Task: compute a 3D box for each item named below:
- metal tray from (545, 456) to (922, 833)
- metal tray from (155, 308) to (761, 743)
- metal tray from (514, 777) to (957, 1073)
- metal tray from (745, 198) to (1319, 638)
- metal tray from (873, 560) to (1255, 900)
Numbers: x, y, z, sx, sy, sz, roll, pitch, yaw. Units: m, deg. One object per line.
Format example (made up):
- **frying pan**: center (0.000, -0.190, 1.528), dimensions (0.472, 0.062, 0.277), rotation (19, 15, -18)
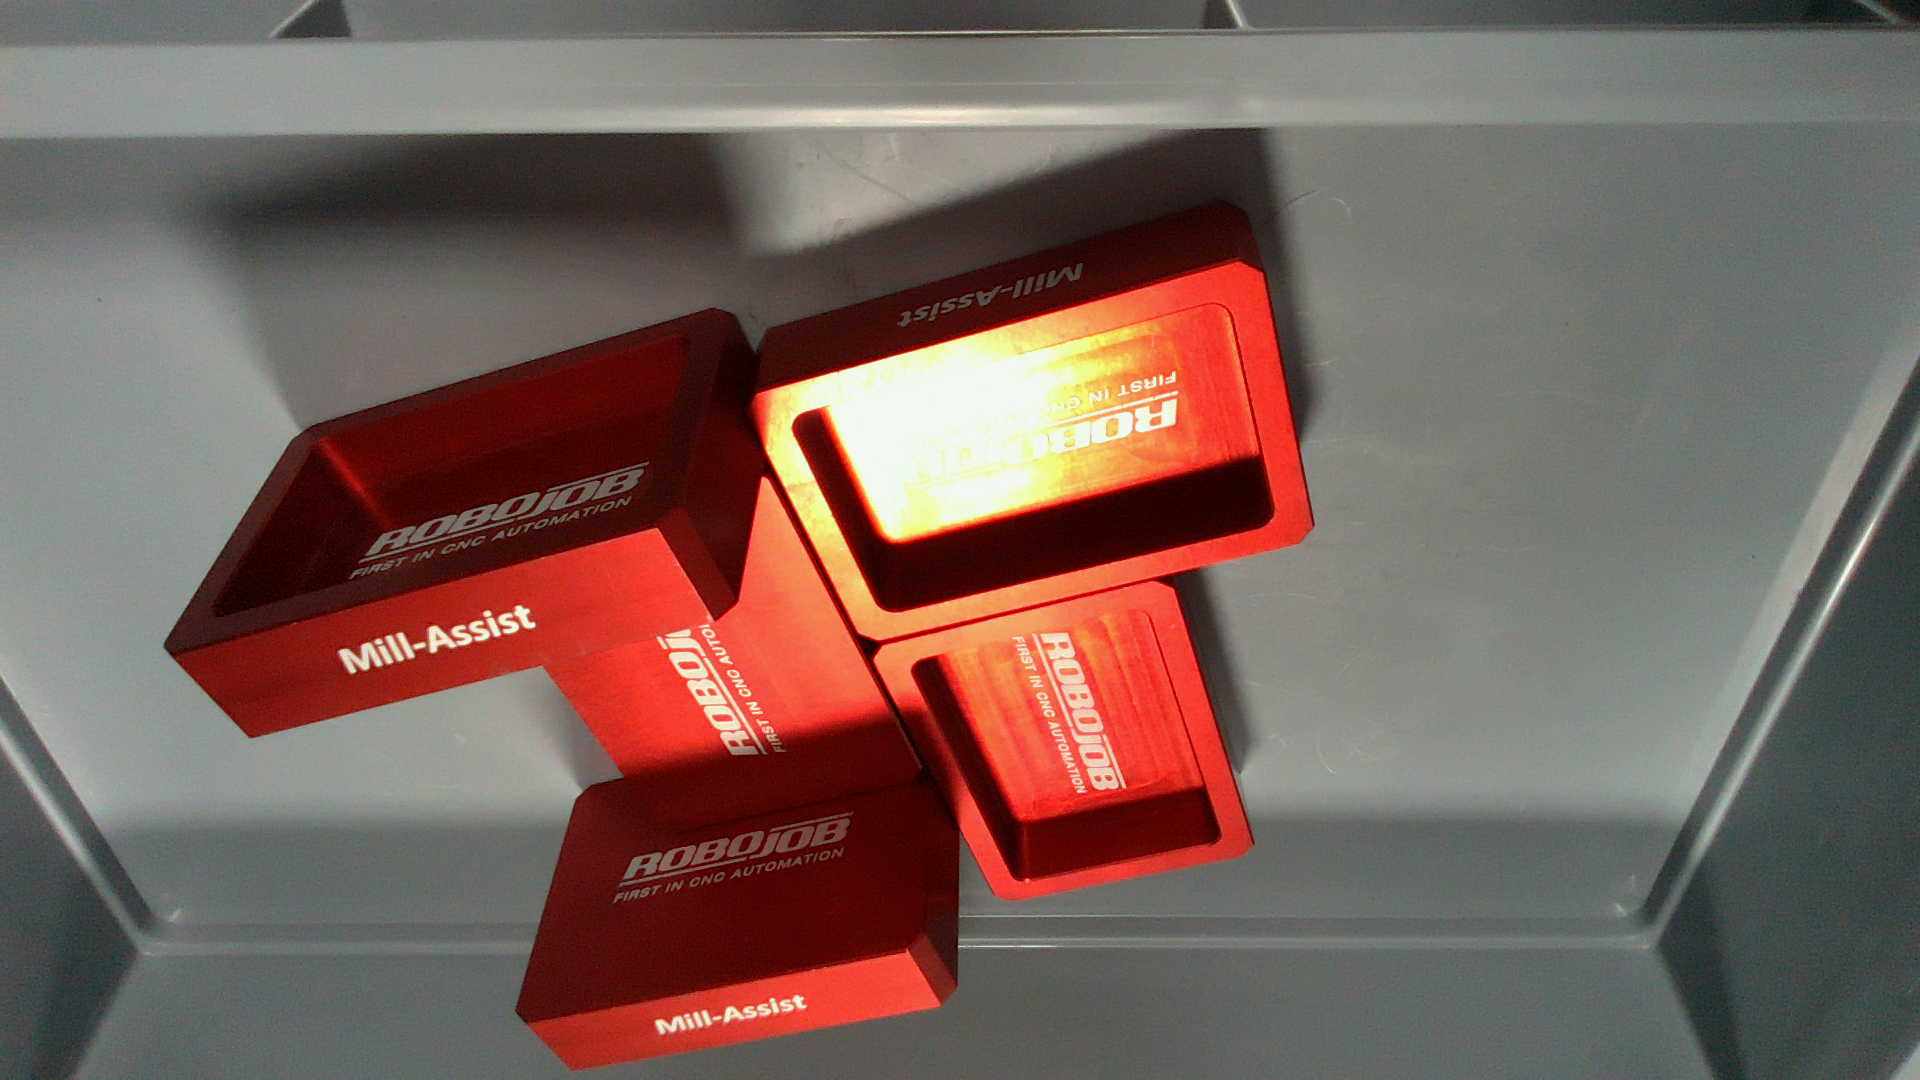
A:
- **metal tray**: center (-0.073, 0.029, 0.408), dimensions (0.090, 0.030, 0.130), rotation (-14, 129, 11)
- **metal tray**: center (-0.116, -0.006, 0.338), dimensions (0.130, 0.090, 0.030), rotation (-14, 129, 11)
- **metal tray**: center (-0.067, 0.111, 0.438), dimensions (0.130, 0.090, 0.030), rotation (-13, 129, 11)
- **metal tray**: center (0.021, -0.028, 0.362), dimensions (0.130, 0.030, 0.090), rotation (-14, 129, 11)
- **metal tray**: center (0.036, 0.057, 0.434), dimensions (0.090, 0.030, 0.130), rotation (-14, 129, 11)
